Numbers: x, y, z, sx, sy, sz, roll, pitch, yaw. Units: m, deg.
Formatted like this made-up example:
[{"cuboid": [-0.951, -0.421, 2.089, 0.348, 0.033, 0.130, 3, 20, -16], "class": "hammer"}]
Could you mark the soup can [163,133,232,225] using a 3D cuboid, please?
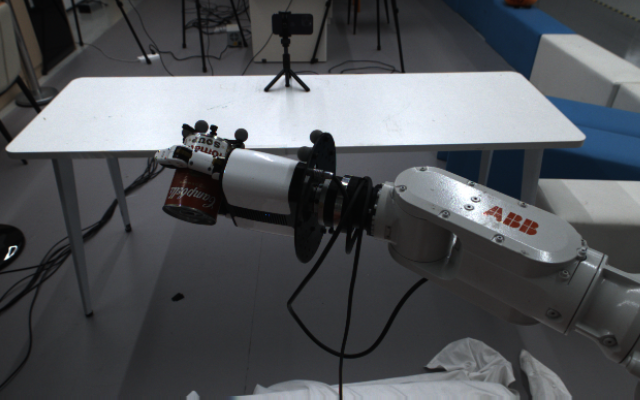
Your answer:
[{"cuboid": [-0.152, -0.026, 0.616, 0.067, 0.067, 0.101, 8, 71, 9], "class": "soup can"}]
